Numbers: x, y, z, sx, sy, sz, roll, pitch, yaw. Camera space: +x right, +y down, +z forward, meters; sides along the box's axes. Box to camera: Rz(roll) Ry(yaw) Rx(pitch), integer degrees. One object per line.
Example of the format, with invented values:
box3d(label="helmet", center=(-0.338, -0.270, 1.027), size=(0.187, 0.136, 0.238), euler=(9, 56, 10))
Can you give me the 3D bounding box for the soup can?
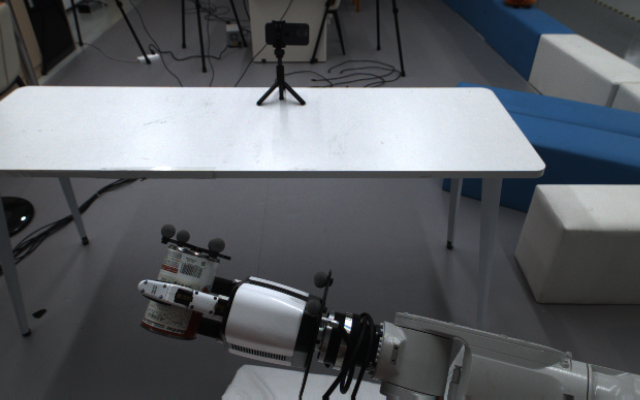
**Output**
box3d(label="soup can", center=(-0.168, 0.114, 0.595), size=(0.067, 0.067, 0.101), euler=(13, 78, 16))
